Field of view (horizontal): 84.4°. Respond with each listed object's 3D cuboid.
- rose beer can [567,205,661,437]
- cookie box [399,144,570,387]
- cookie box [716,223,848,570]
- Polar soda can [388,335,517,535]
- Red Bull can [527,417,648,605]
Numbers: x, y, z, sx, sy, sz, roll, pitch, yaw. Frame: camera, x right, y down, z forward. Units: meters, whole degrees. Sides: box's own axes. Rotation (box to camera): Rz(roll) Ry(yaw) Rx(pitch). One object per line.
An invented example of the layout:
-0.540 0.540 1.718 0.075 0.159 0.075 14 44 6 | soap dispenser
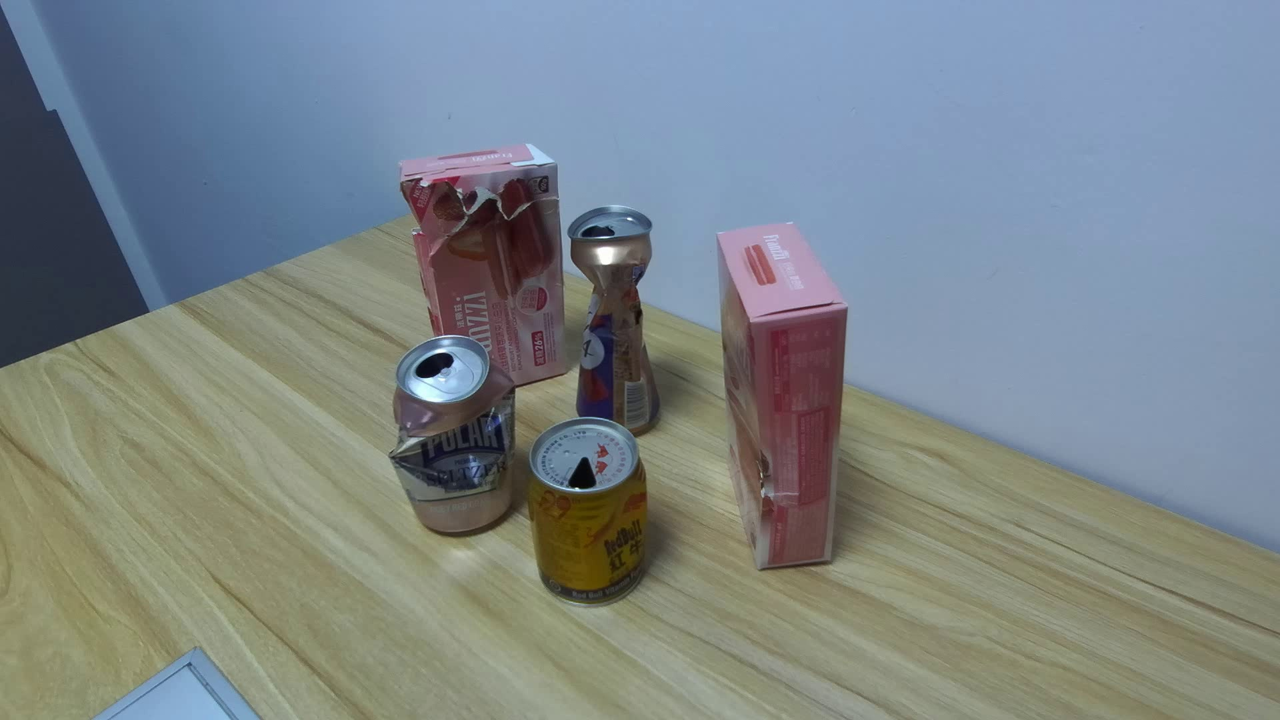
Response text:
-0.016 -0.024 0.507 0.068 0.162 0.073 -25 39 -32 | rose beer can
-0.112 -0.061 0.540 0.105 0.186 0.059 -15 37 -18 | cookie box
0.080 0.029 0.409 0.049 0.188 0.105 -8 35 1 | cookie box
-0.116 0.052 0.442 0.066 0.122 0.071 22 40 23 | Polar soda can
-0.030 0.088 0.408 0.069 0.092 0.069 0 34 0 | Red Bull can
